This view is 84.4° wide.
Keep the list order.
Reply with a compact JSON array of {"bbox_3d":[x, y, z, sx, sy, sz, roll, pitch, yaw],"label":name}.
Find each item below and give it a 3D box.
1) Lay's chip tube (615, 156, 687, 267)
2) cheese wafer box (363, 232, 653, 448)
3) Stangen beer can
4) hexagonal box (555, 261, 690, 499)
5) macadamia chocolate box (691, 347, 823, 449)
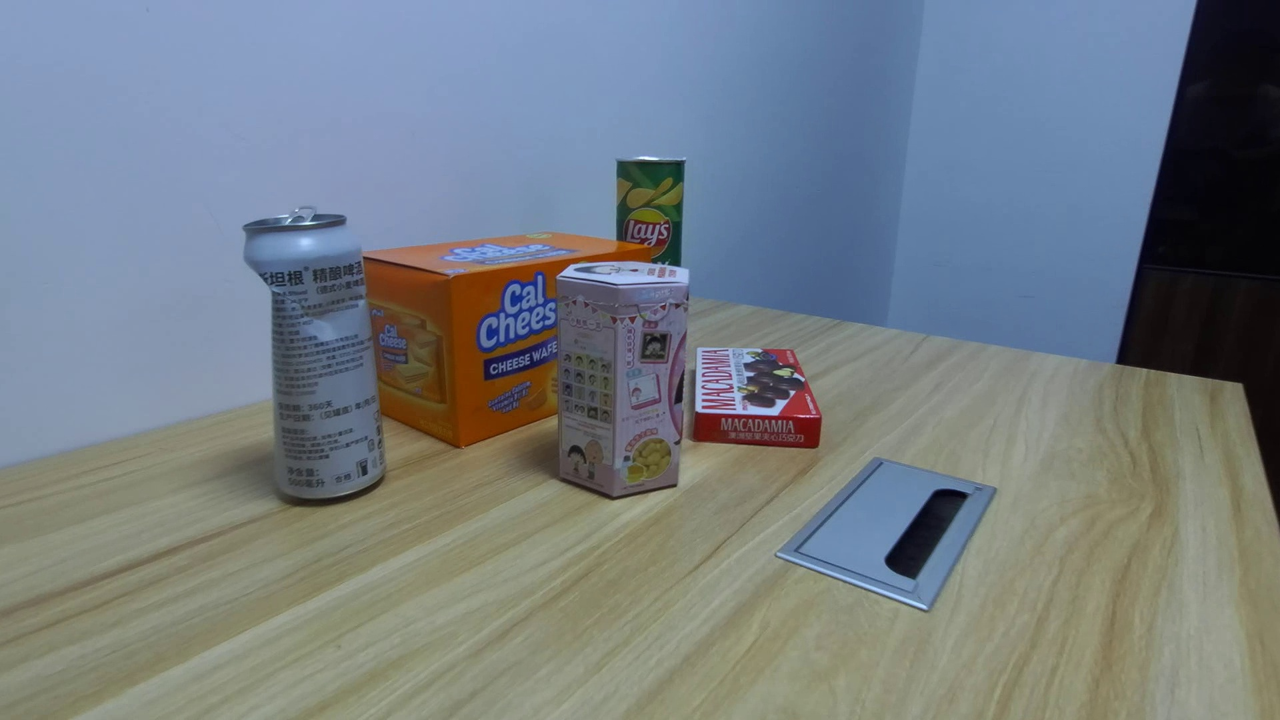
[{"bbox_3d":[0.010,-0.102,0.720,0.071,0.202,0.071,0,15,0],"label":"Lay's chip tube"},{"bbox_3d":[-0.113,-0.032,0.612,0.147,0.129,0.223,14,21,37],"label":"cheese wafer box"},{"bbox_3d":[-0.198,-0.001,0.425,0.069,0.173,0.070,6,17,21],"label":"Stangen beer can"},{"bbox_3d":[-0.009,0.010,0.458,0.084,0.136,0.091,2,17,3],"label":"hexagonal box"},{"bbox_3d":[0.093,0.026,0.602,0.095,0.027,0.178,2,17,5],"label":"macadamia chocolate box"}]
